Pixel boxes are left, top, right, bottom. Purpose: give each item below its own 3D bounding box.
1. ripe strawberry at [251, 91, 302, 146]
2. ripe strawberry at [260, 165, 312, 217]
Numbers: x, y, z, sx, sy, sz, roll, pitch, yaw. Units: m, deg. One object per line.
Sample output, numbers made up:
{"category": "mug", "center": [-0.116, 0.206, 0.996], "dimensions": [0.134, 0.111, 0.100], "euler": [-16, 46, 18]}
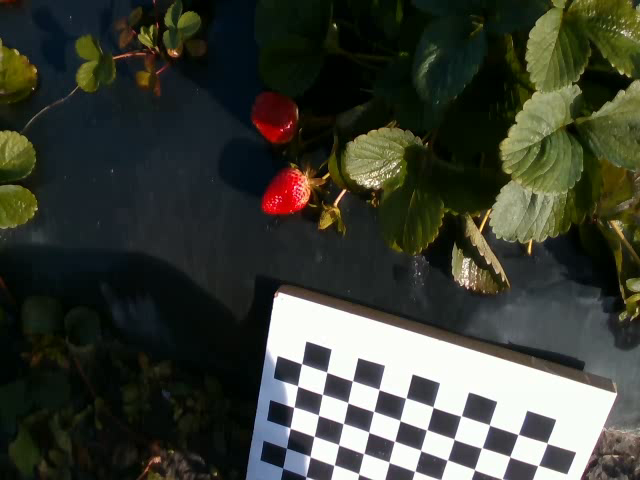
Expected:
{"category": "ripe strawberry", "center": [-0.040, -0.110, 0.562], "dimensions": [0.054, 0.048, 0.039], "euler": [23, 23, -18]}
{"category": "ripe strawberry", "center": [-0.034, -0.042, 0.544], "dimensions": [0.053, 0.043, 0.038], "euler": [-35, 7, -18]}
